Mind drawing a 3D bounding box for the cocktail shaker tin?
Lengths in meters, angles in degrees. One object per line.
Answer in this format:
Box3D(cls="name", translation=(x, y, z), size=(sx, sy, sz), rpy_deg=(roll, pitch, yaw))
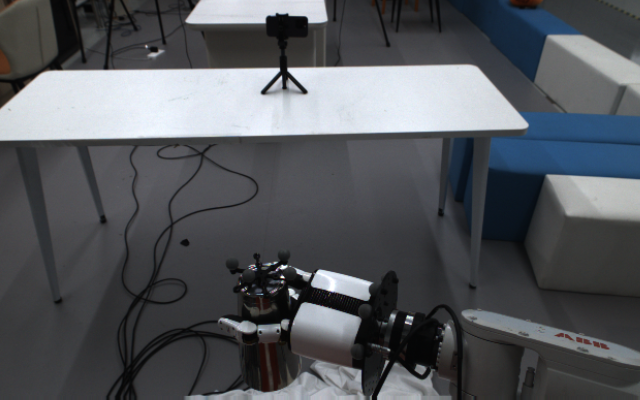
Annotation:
Box3D(cls="cocktail shaker tin", translation=(-0.071, 0.174, 0.683), size=(0.093, 0.170, 0.093), rpy_deg=(-1, 32, 1))
